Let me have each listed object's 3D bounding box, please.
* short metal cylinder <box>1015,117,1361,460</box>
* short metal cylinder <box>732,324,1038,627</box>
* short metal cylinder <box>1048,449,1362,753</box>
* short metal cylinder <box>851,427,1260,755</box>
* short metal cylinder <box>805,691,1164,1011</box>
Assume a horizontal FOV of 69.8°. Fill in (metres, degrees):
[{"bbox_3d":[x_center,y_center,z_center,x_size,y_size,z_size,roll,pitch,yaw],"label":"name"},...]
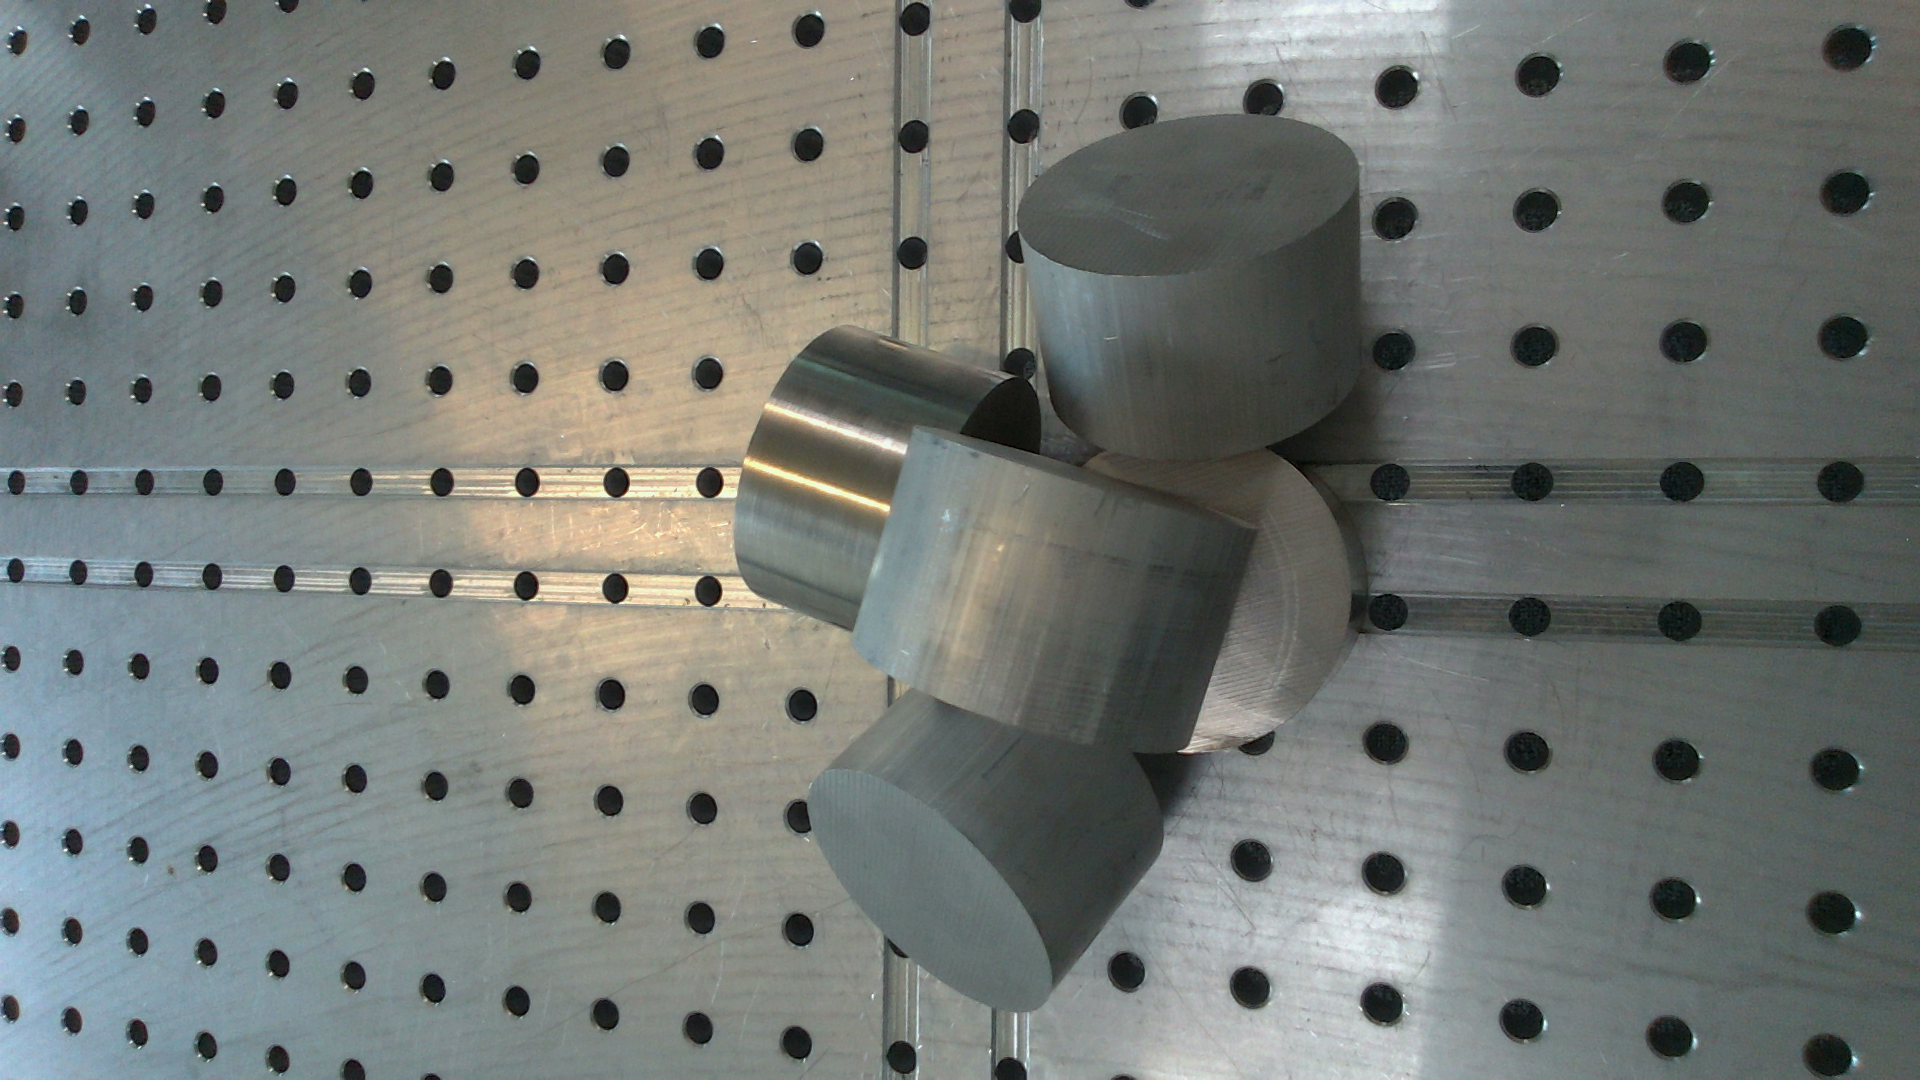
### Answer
[{"bbox_3d":[0.057,-0.064,0.341,0.080,0.080,0.050,2,131,20],"label":"short metal cylinder"},{"bbox_3d":[-0.018,-0.013,0.376,0.050,0.080,0.080,20,97,19],"label":"short metal cylinder"},{"bbox_3d":[0.063,0.013,0.361,0.080,0.050,0.080,0,89,20],"label":"short metal cylinder"},{"bbox_3d":[0.021,0.010,0.308,0.080,0.080,0.050,18,96,19],"label":"short metal cylinder"},{"bbox_3d":[0.006,0.075,0.361,0.080,0.050,0.080,29,142,26],"label":"short metal cylinder"}]
